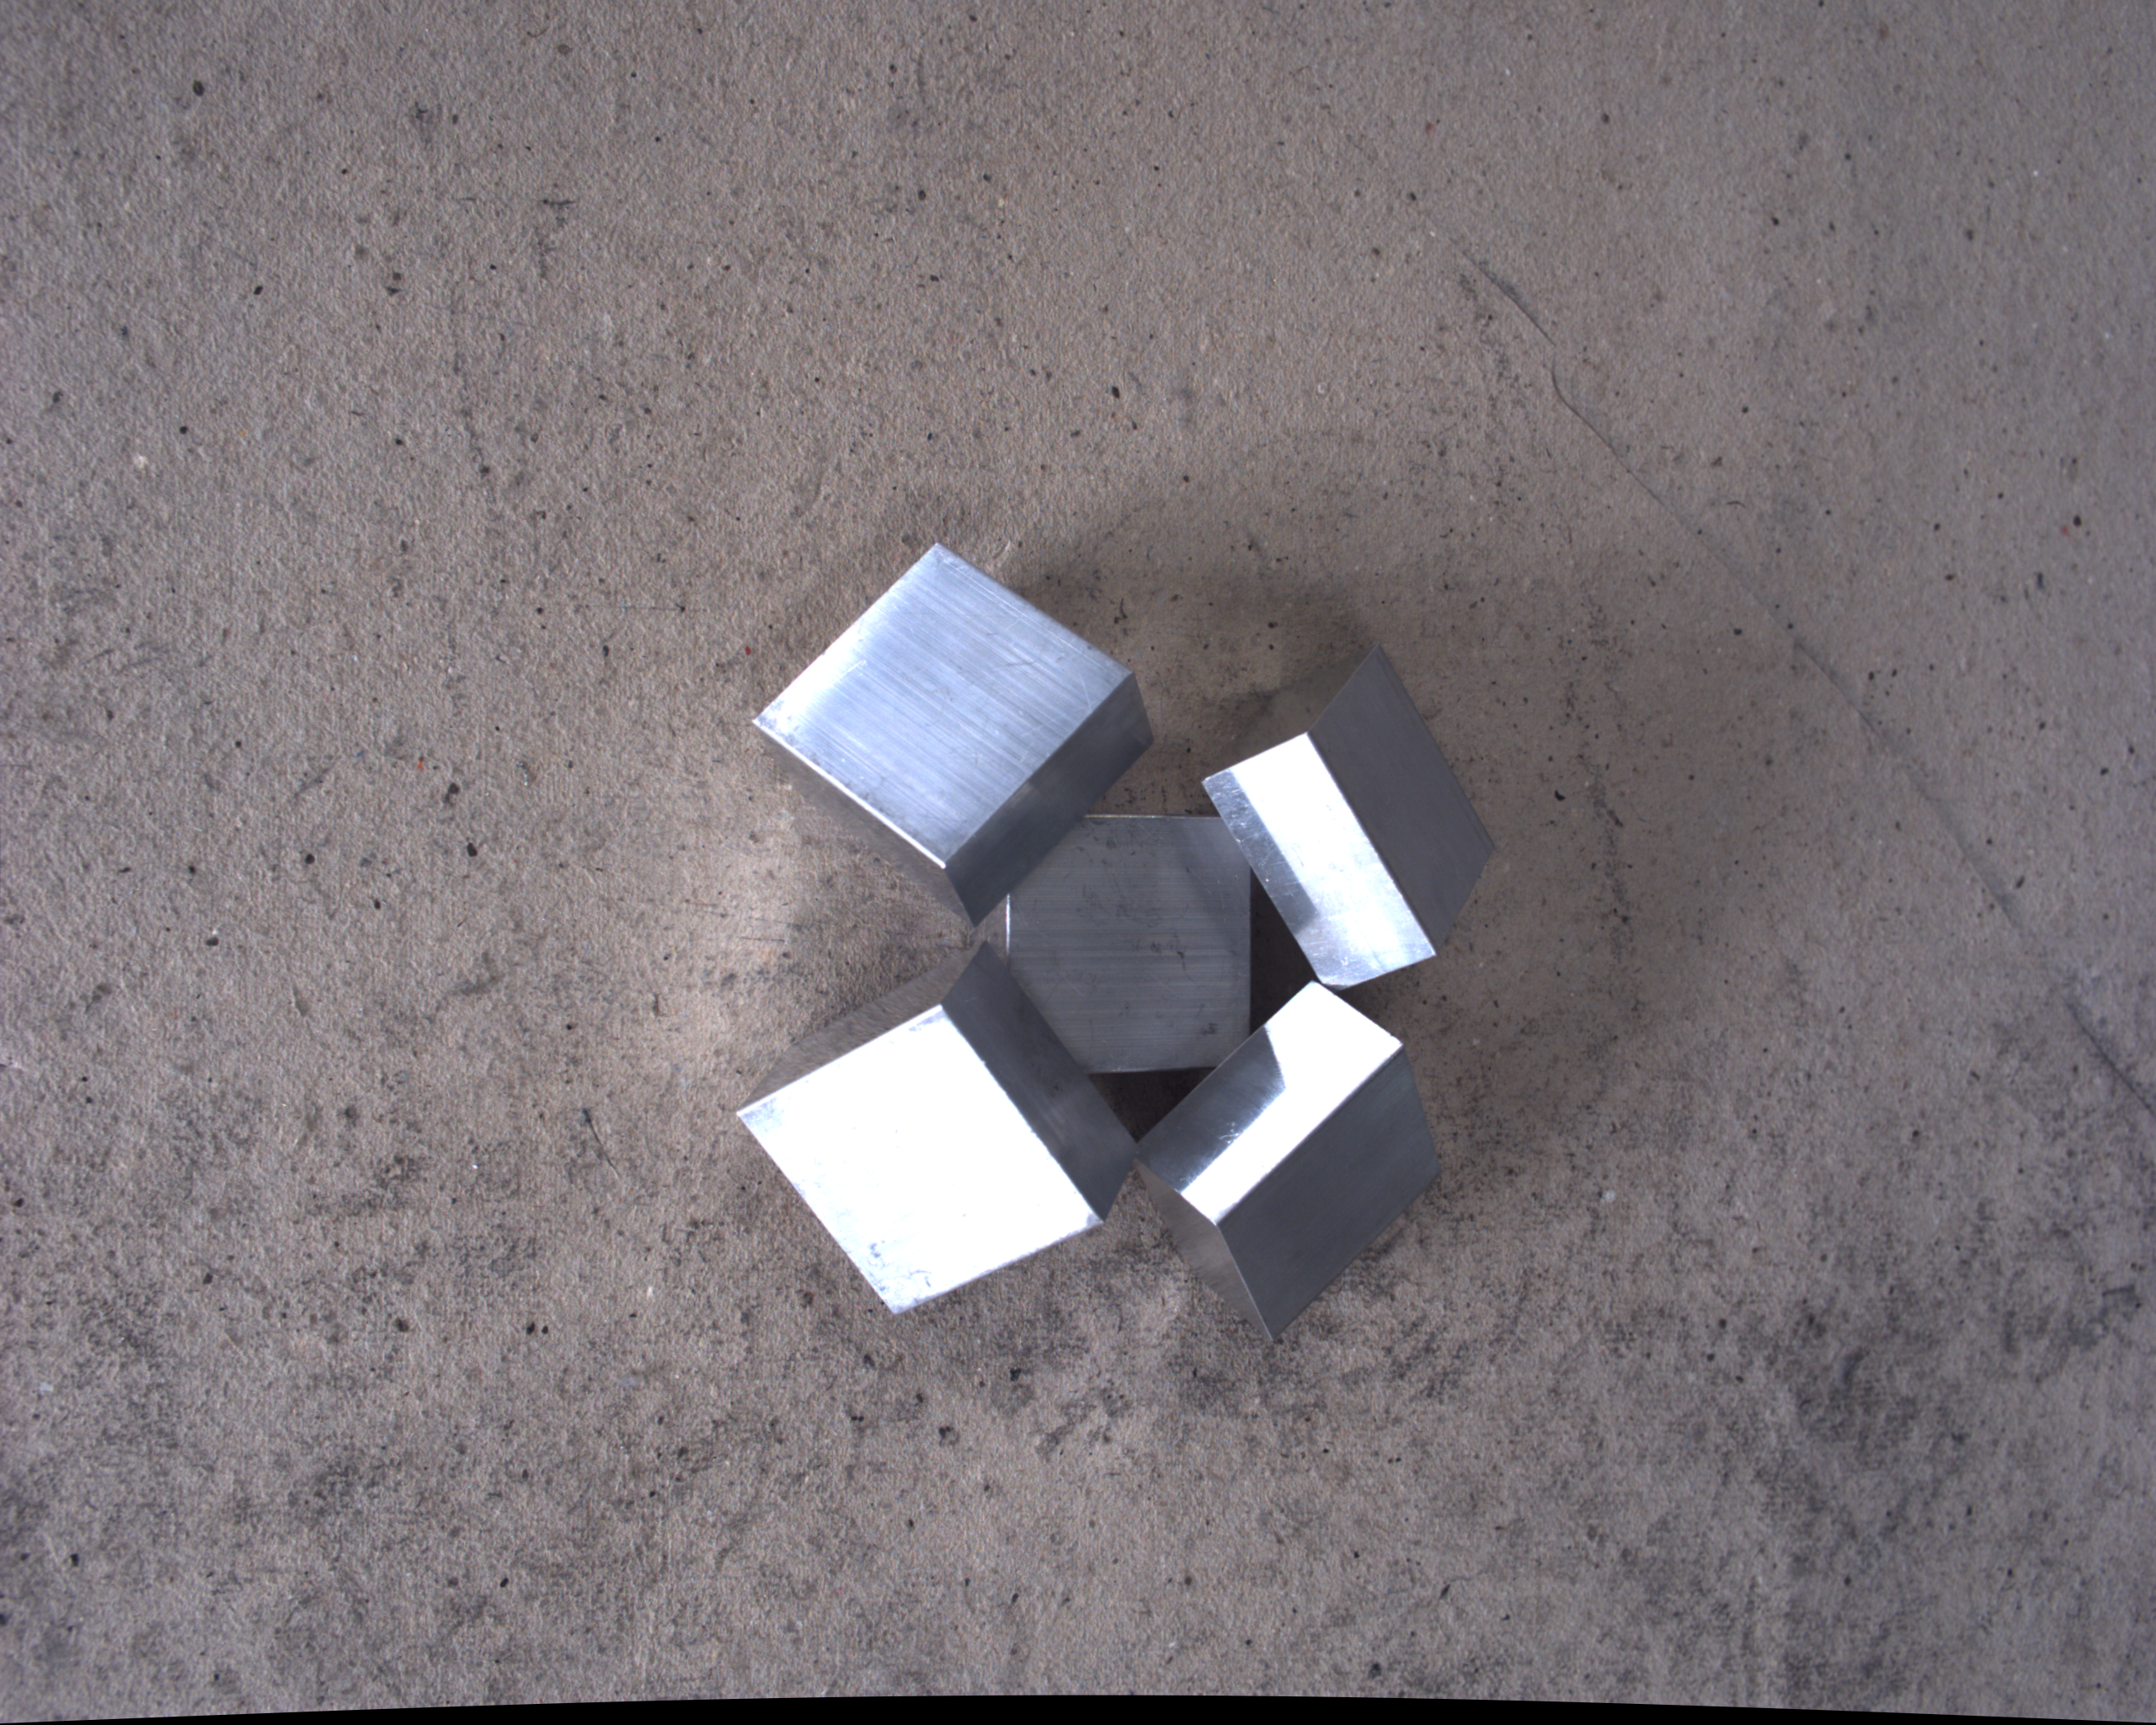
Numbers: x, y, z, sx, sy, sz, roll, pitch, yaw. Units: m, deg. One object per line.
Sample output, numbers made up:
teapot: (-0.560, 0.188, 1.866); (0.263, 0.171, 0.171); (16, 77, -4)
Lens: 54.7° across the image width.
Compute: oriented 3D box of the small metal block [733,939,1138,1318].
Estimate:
small metal block: (-0.026, 0.050, 0.387); (0.050, 0.025, 0.050); (-29, 103, 27)

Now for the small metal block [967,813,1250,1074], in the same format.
small metal block: (0.006, 0.015, 0.412); (0.050, 0.025, 0.050); (0, 90, -22)

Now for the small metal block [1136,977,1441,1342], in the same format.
small metal block: (0.042, 0.059, 0.413); (0.050, 0.025, 0.050); (-42, 141, -15)

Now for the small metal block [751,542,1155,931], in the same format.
small metal block: (-0.023, -0.024, 0.388); (0.050, 0.025, 0.050); (36, 74, 26)

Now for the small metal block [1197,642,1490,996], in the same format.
small metal block: (0.055, -0.009, 0.417); (0.050, 0.025, 0.050); (59, 32, -11)
